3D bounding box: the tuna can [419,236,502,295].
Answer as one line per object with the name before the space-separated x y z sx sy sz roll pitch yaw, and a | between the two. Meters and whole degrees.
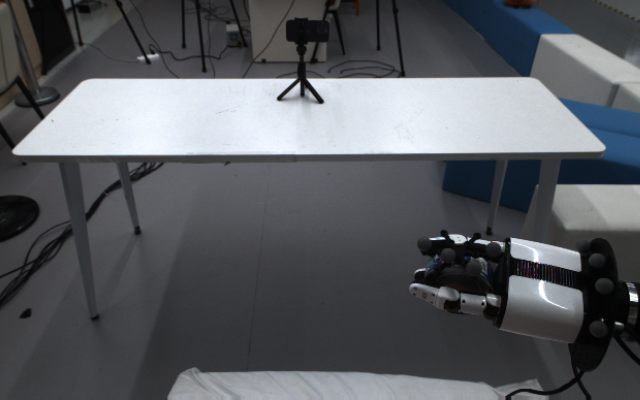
tuna can | 0.177 0.101 0.612 0.085 0.085 0.034 12 39 14
